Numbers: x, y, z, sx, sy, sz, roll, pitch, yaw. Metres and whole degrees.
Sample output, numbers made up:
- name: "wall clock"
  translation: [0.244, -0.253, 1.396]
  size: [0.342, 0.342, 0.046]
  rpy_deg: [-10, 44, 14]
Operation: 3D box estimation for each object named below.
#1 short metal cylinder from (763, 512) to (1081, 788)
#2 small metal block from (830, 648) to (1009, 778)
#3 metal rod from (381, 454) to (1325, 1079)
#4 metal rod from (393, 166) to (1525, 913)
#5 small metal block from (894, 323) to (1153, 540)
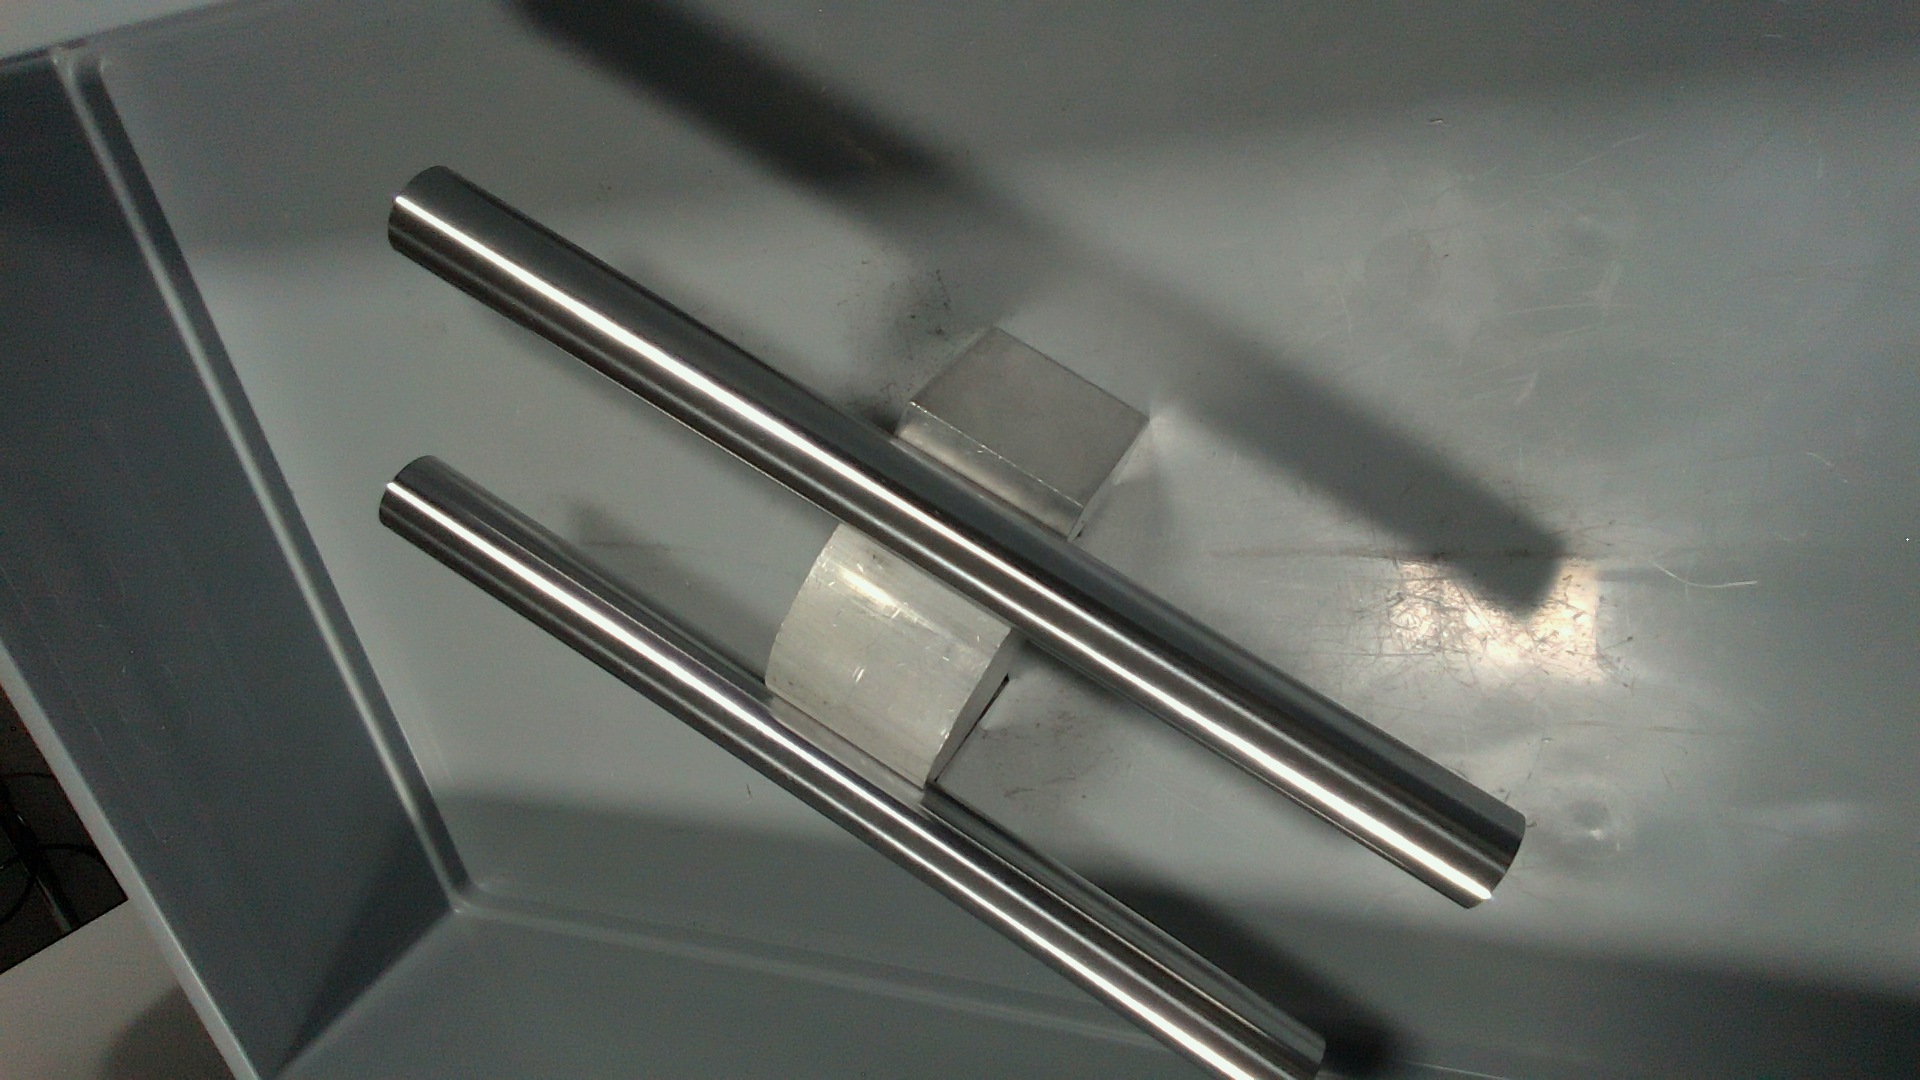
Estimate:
- name: "short metal cylinder"
  translation: [-0.009, 0.020, 0.374]
  size: [0.050, 0.080, 0.080]
  rpy_deg: [32, 129, 8]
- name: "small metal block"
  translation: [-0.021, 0.051, 0.418]
  size: [0.050, 0.050, 0.025]
  rpy_deg: [32, 129, 7]
- name: "metal rod"
  translation: [-0.036, 0.063, 0.387]
  size: [0.300, 0.025, 0.025]
  rpy_deg: [32, 129, 8]
- name: "metal rod"
  translation: [-0.007, -0.005, 0.328]
  size: [0.300, 0.025, 0.025]
  rpy_deg: [32, 129, 8]
- name: "small metal block"
  translation: [0.015, -0.024, 0.352]
  size: [0.050, 0.050, 0.025]
  rpy_deg: [32, 129, 7]
